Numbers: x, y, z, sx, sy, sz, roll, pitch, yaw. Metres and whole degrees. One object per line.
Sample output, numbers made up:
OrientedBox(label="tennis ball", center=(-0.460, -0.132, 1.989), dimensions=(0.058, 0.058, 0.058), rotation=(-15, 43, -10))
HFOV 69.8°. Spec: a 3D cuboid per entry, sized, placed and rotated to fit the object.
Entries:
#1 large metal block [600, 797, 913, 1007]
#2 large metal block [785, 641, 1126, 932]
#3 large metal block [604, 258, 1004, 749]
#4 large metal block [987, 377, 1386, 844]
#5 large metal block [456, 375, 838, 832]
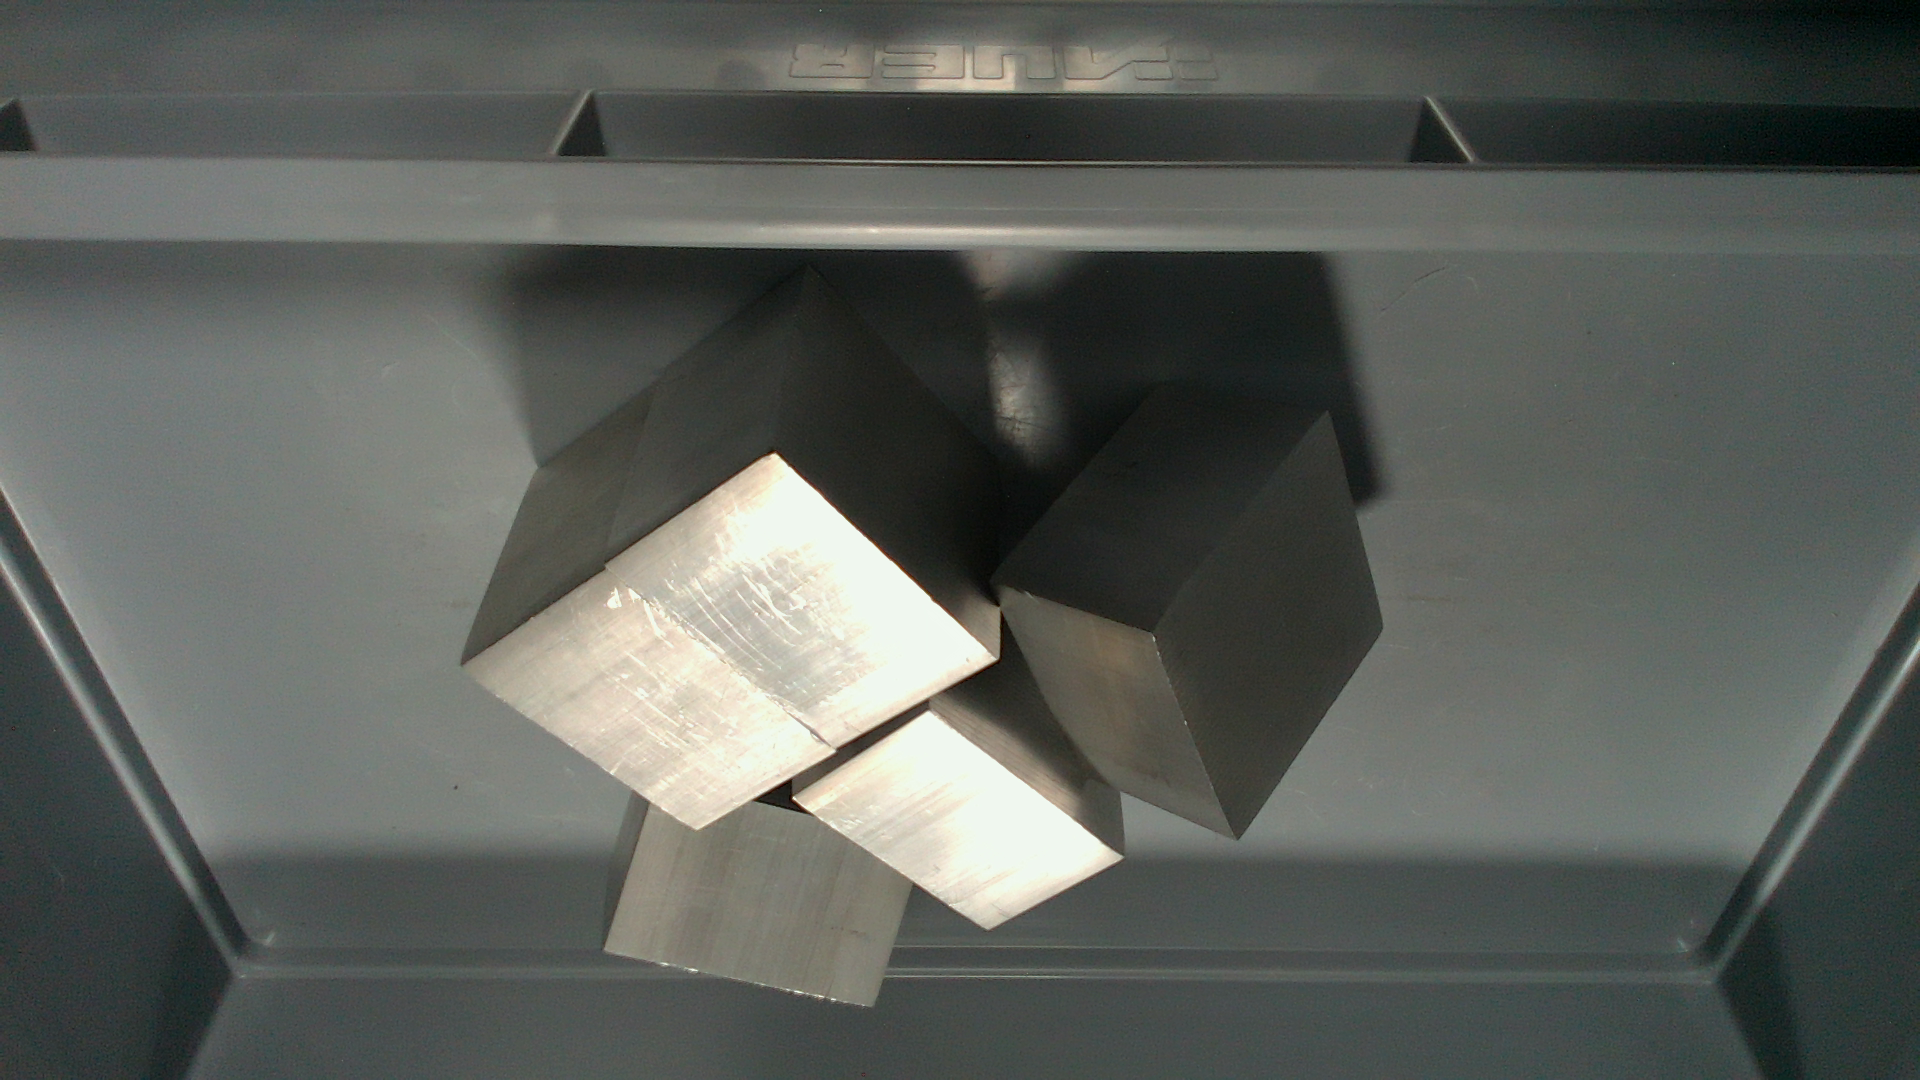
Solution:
OrientedBox(label="large metal block", center=(-0.062, 0.094, 0.424), dimensions=(0.080, 0.080, 0.050), rotation=(17, 93, -14))
OrientedBox(label="large metal block", center=(0.000, 0.052, 0.396), dimensions=(0.050, 0.080, 0.080), rotation=(-34, 122, 25))
OrientedBox(label="large metal block", center=(-0.034, -0.009, 0.345), dimensions=(0.050, 0.080, 0.080), rotation=(-31, 123, 24))
OrientedBox(label="large metal block", center=(0.063, 0.017, 0.359), dimensions=(0.050, 0.080, 0.080), rotation=(16, 144, 42))
OrientedBox(label="large metal block", center=(-0.075, 0.016, 0.367), dimensions=(0.050, 0.080, 0.080), rotation=(-30, 124, 23))
